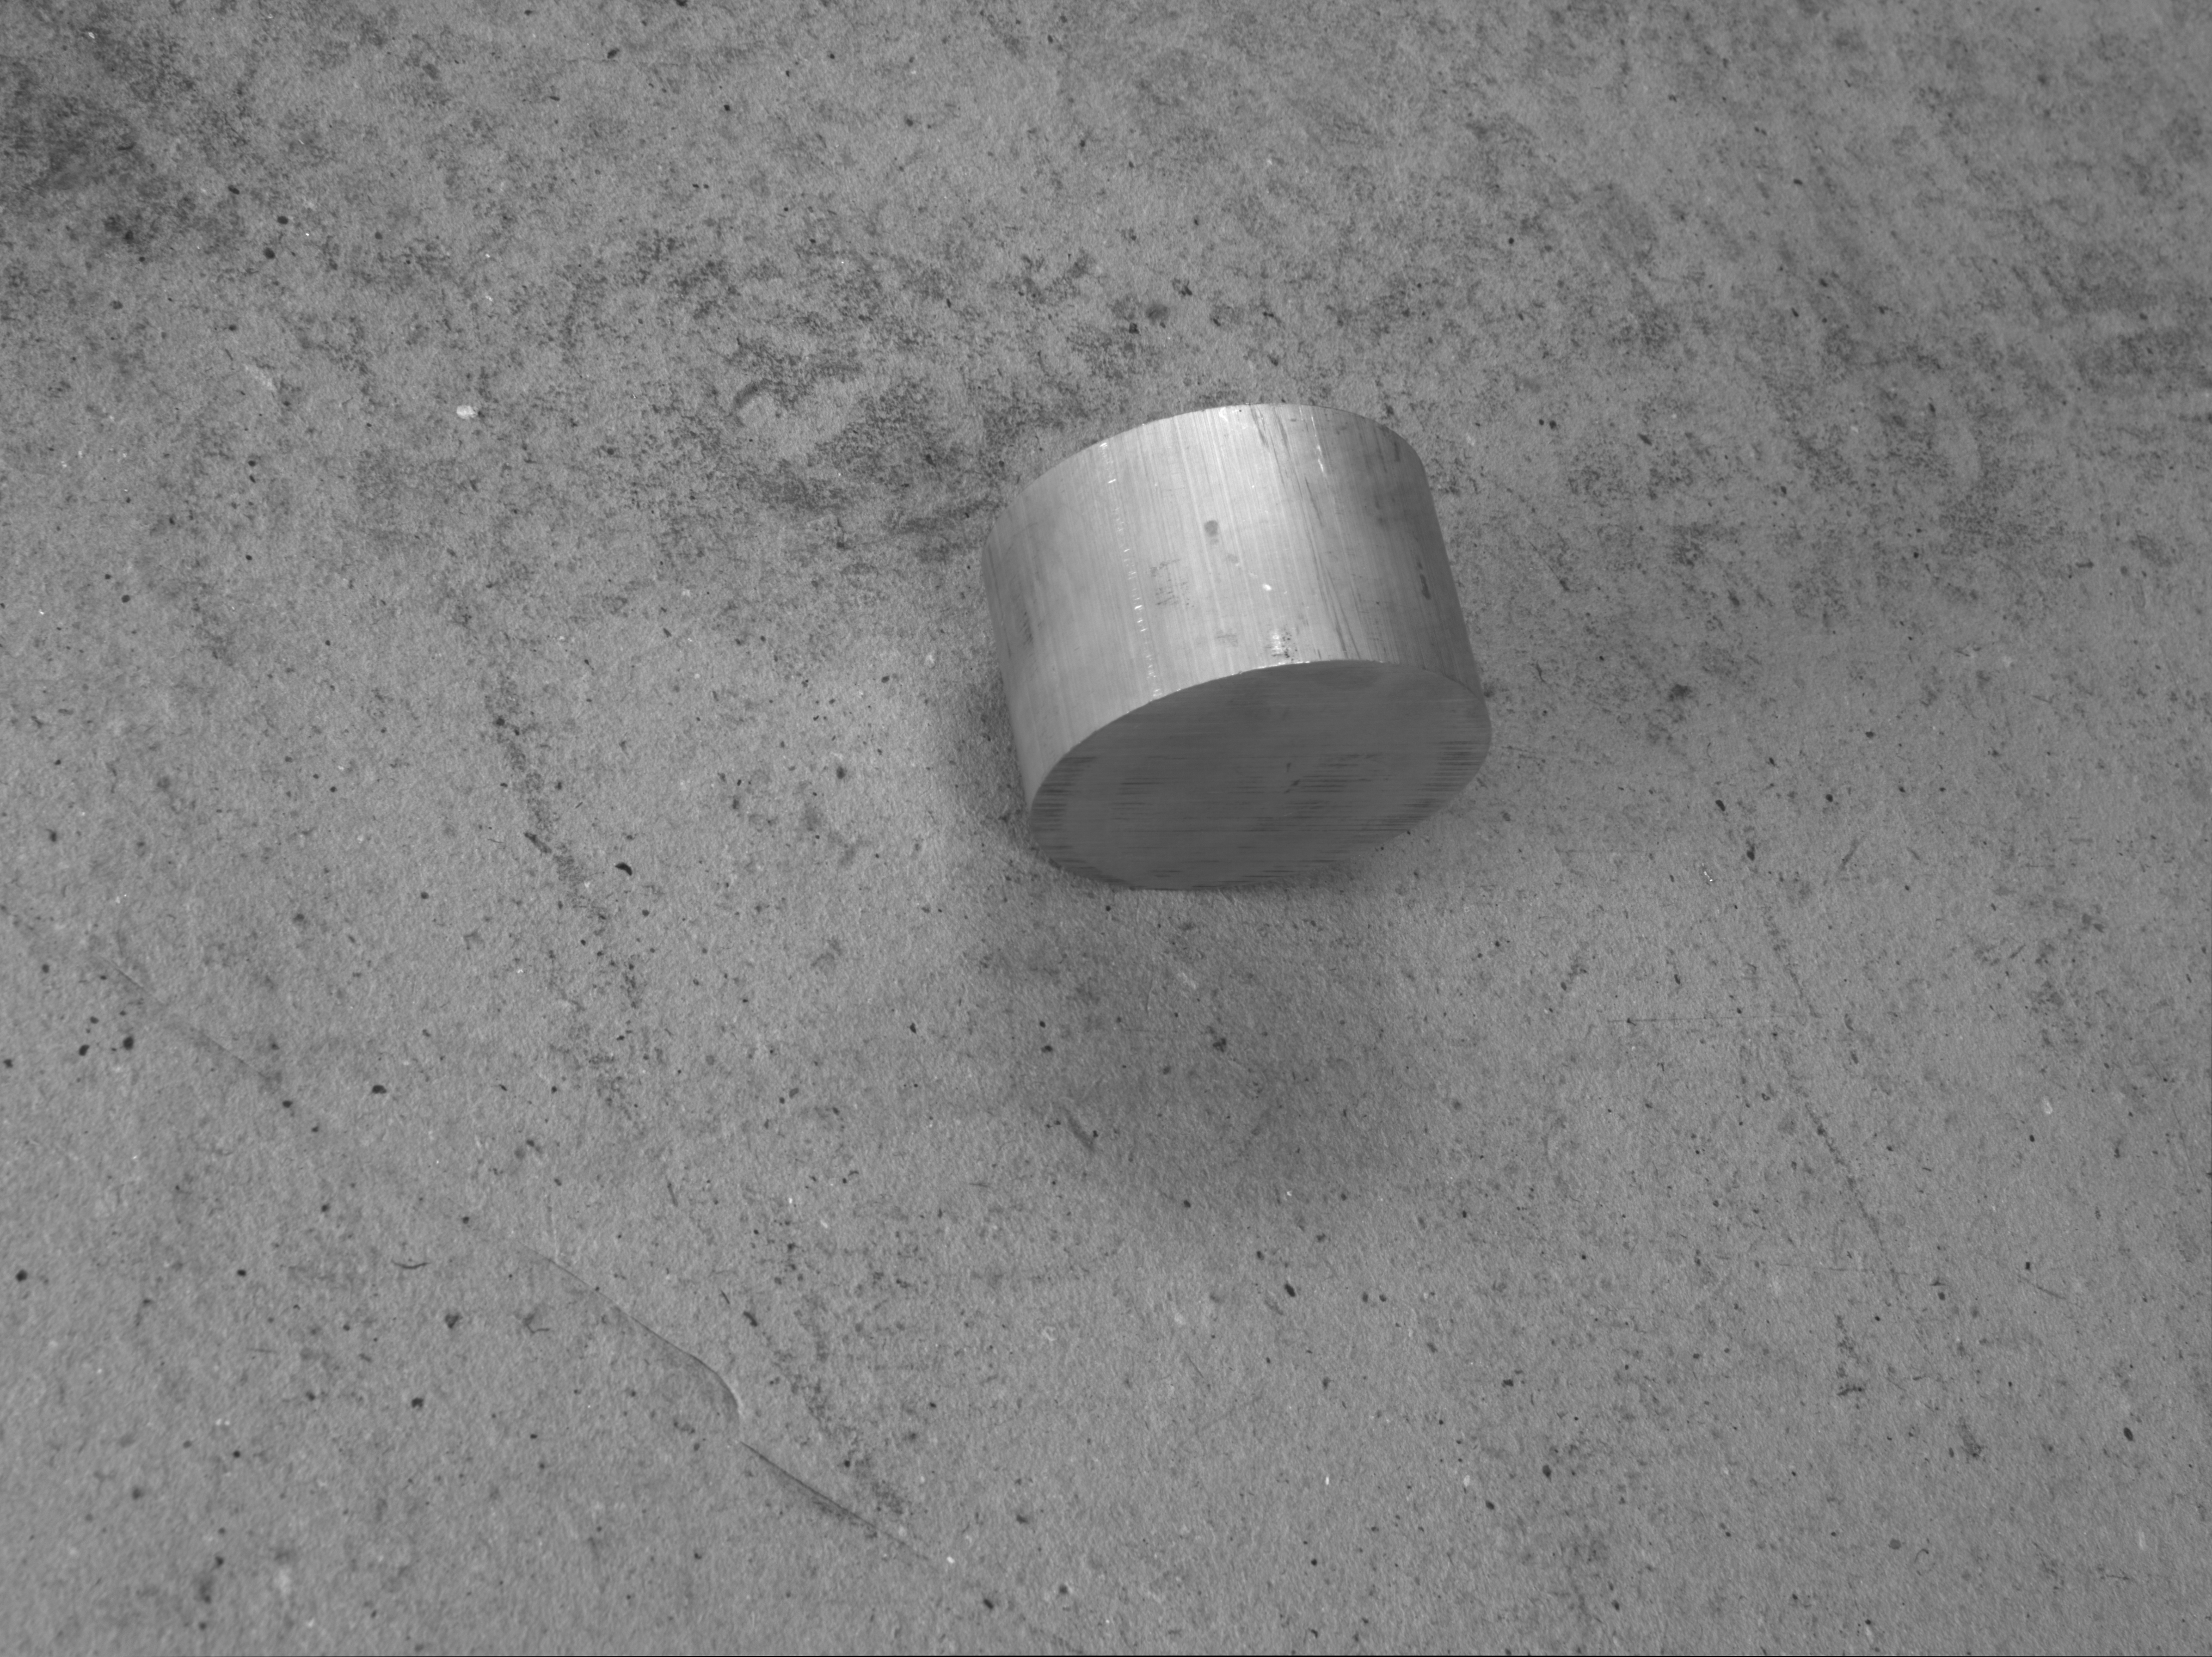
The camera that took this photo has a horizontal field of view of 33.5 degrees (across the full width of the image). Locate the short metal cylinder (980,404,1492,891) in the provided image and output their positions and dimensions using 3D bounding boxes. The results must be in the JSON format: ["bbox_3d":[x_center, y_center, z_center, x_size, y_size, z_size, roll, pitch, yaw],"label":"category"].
[{"bbox_3d":[0.022,-0.030,0.634,0.080,0.080,0.050,2,61,-27],"label":"short metal cylinder"}]
